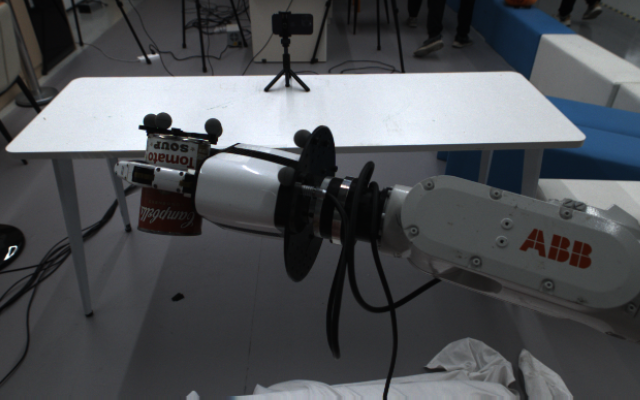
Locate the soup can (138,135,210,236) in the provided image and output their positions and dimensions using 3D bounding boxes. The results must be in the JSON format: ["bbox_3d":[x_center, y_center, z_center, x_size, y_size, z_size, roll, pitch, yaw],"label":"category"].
[{"bbox_3d":[-0.155,-0.015,0.522,0.067,0.101,0.067,7,3,0],"label":"soup can"}]
